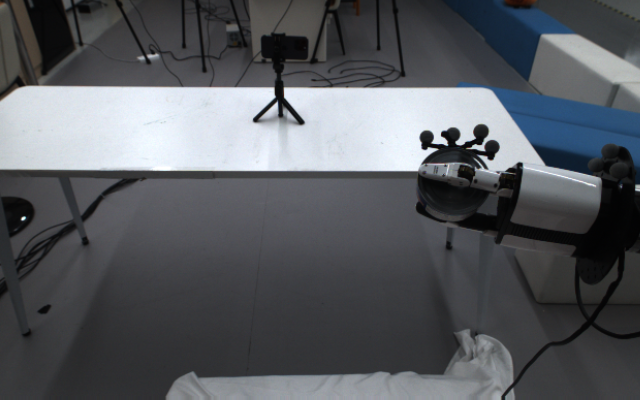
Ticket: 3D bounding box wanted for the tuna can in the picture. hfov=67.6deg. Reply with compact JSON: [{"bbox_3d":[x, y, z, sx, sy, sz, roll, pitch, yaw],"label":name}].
[{"bbox_3d":[0.161,-0.022,0.588,0.085,0.034,0.085,-2,70,6],"label":"tuna can"}]
